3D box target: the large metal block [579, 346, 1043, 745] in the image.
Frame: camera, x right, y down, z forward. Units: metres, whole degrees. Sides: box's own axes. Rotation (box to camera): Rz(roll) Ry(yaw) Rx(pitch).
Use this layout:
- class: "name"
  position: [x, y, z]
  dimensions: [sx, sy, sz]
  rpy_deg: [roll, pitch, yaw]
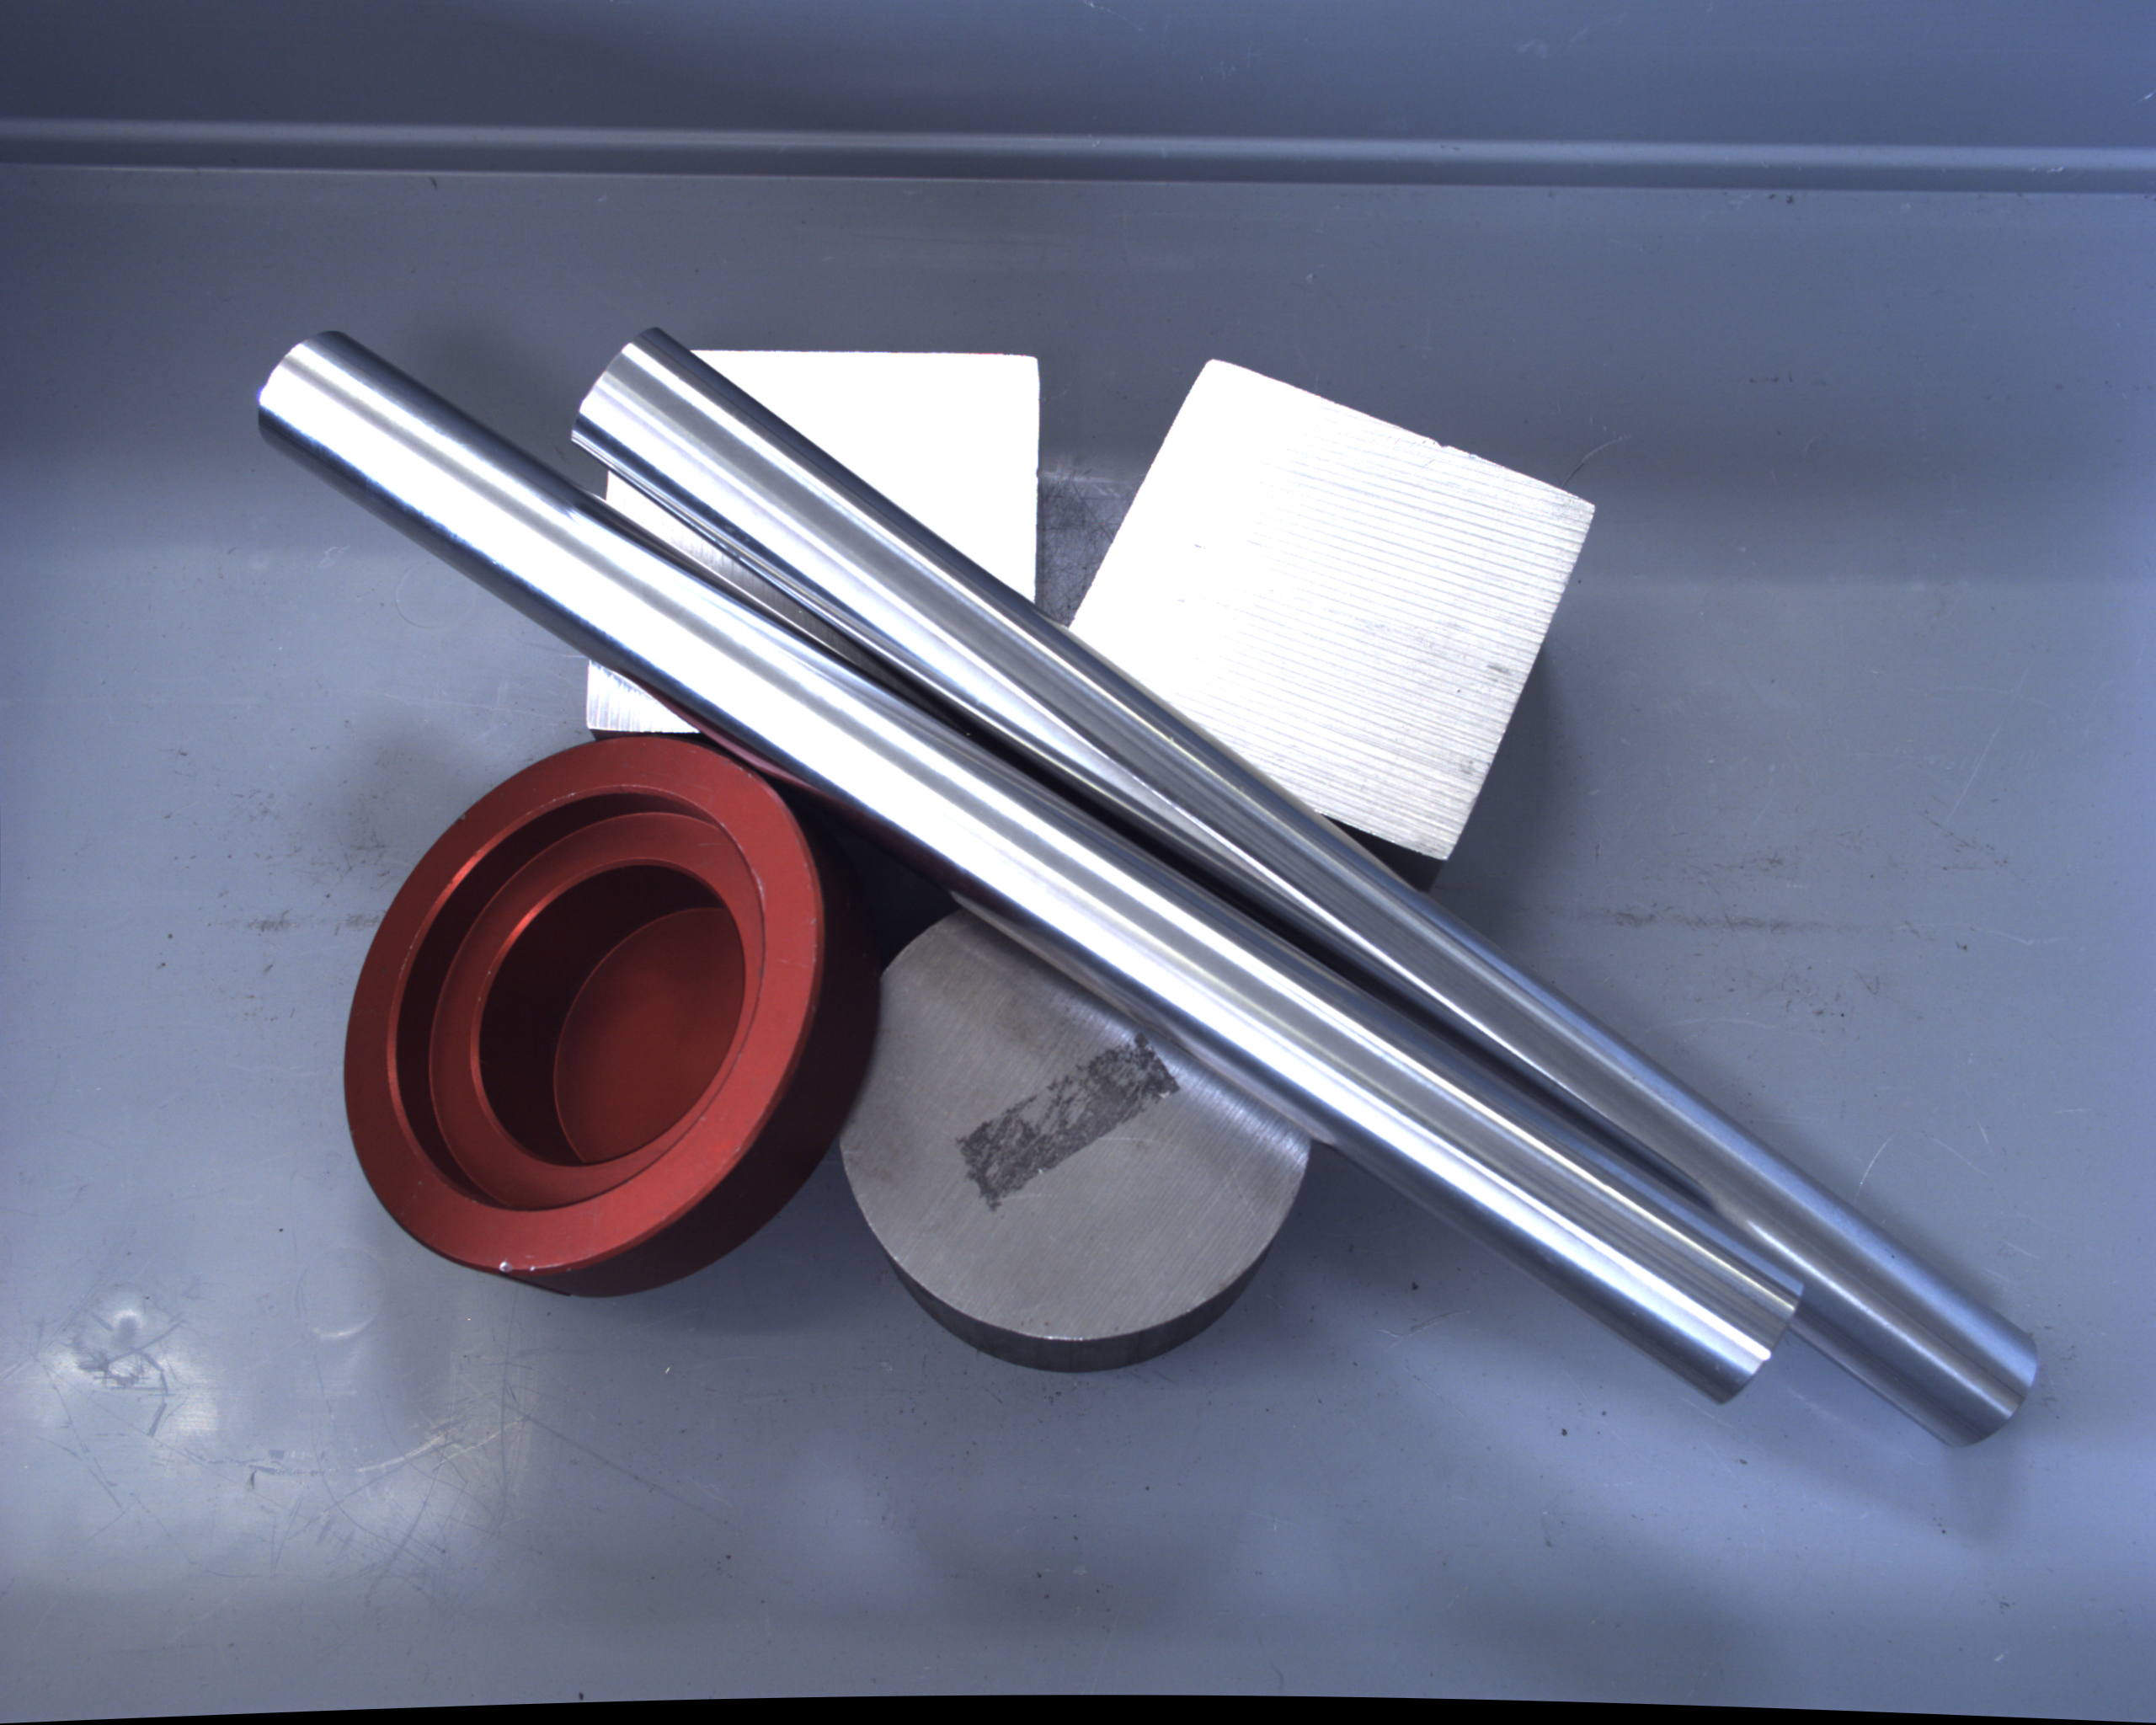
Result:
- class: "large metal block"
  position: [-0.048, -0.053, 0.410]
  dimensions: [0.081, 0.050, 0.080]
  rpy_deg: [1, 70, 0]

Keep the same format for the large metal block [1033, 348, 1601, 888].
- class: "large metal block"
  position: [0.045, -0.042, 0.409]
  dimensions: [0.080, 0.050, 0.080]
  rpy_deg: [23, 72, 8]

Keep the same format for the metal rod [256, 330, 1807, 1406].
- class: "metal rod"
  position: [-0.016, -0.005, 0.355]
  dimensions: [0.301, 0.025, 0.025]
  rpy_deg: [33, 73, 10]

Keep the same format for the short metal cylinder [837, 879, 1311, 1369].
- class: "short metal cylinder"
  position: [0.000, 0.049, 0.376]
  dimensions: [0.081, 0.050, 0.080]
  rpy_deg: [0, 70, 0]

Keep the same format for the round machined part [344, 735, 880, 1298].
- class: "round machined part"
  position: [-0.079, 0.030, 0.375]
  dimensions: [0.098, 0.042, 0.098]
  rpy_deg: [-10, 65, 21]

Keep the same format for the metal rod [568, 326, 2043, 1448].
- class: "metal rod"
  position: [0.042, 0.006, 0.366]
  dimensions: [0.301, 0.025, 0.025]
  rpy_deg: [36, 73, -3]
